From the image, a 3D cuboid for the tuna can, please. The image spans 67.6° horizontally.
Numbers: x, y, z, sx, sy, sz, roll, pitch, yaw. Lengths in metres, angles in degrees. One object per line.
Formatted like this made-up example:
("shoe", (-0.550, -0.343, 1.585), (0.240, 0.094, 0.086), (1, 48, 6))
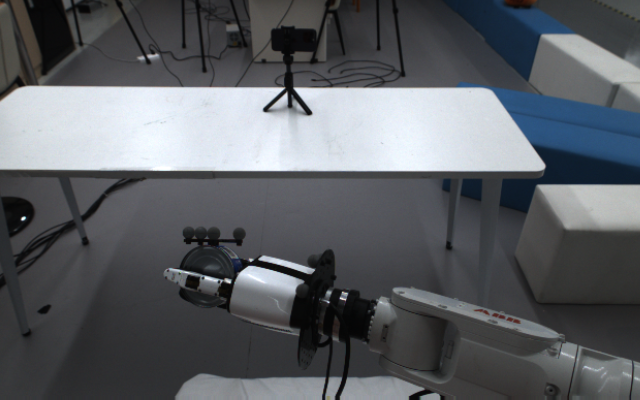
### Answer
("tuna can", (-0.149, 0.105, 0.671), (0.085, 0.085, 0.034), (15, 0, 18))
